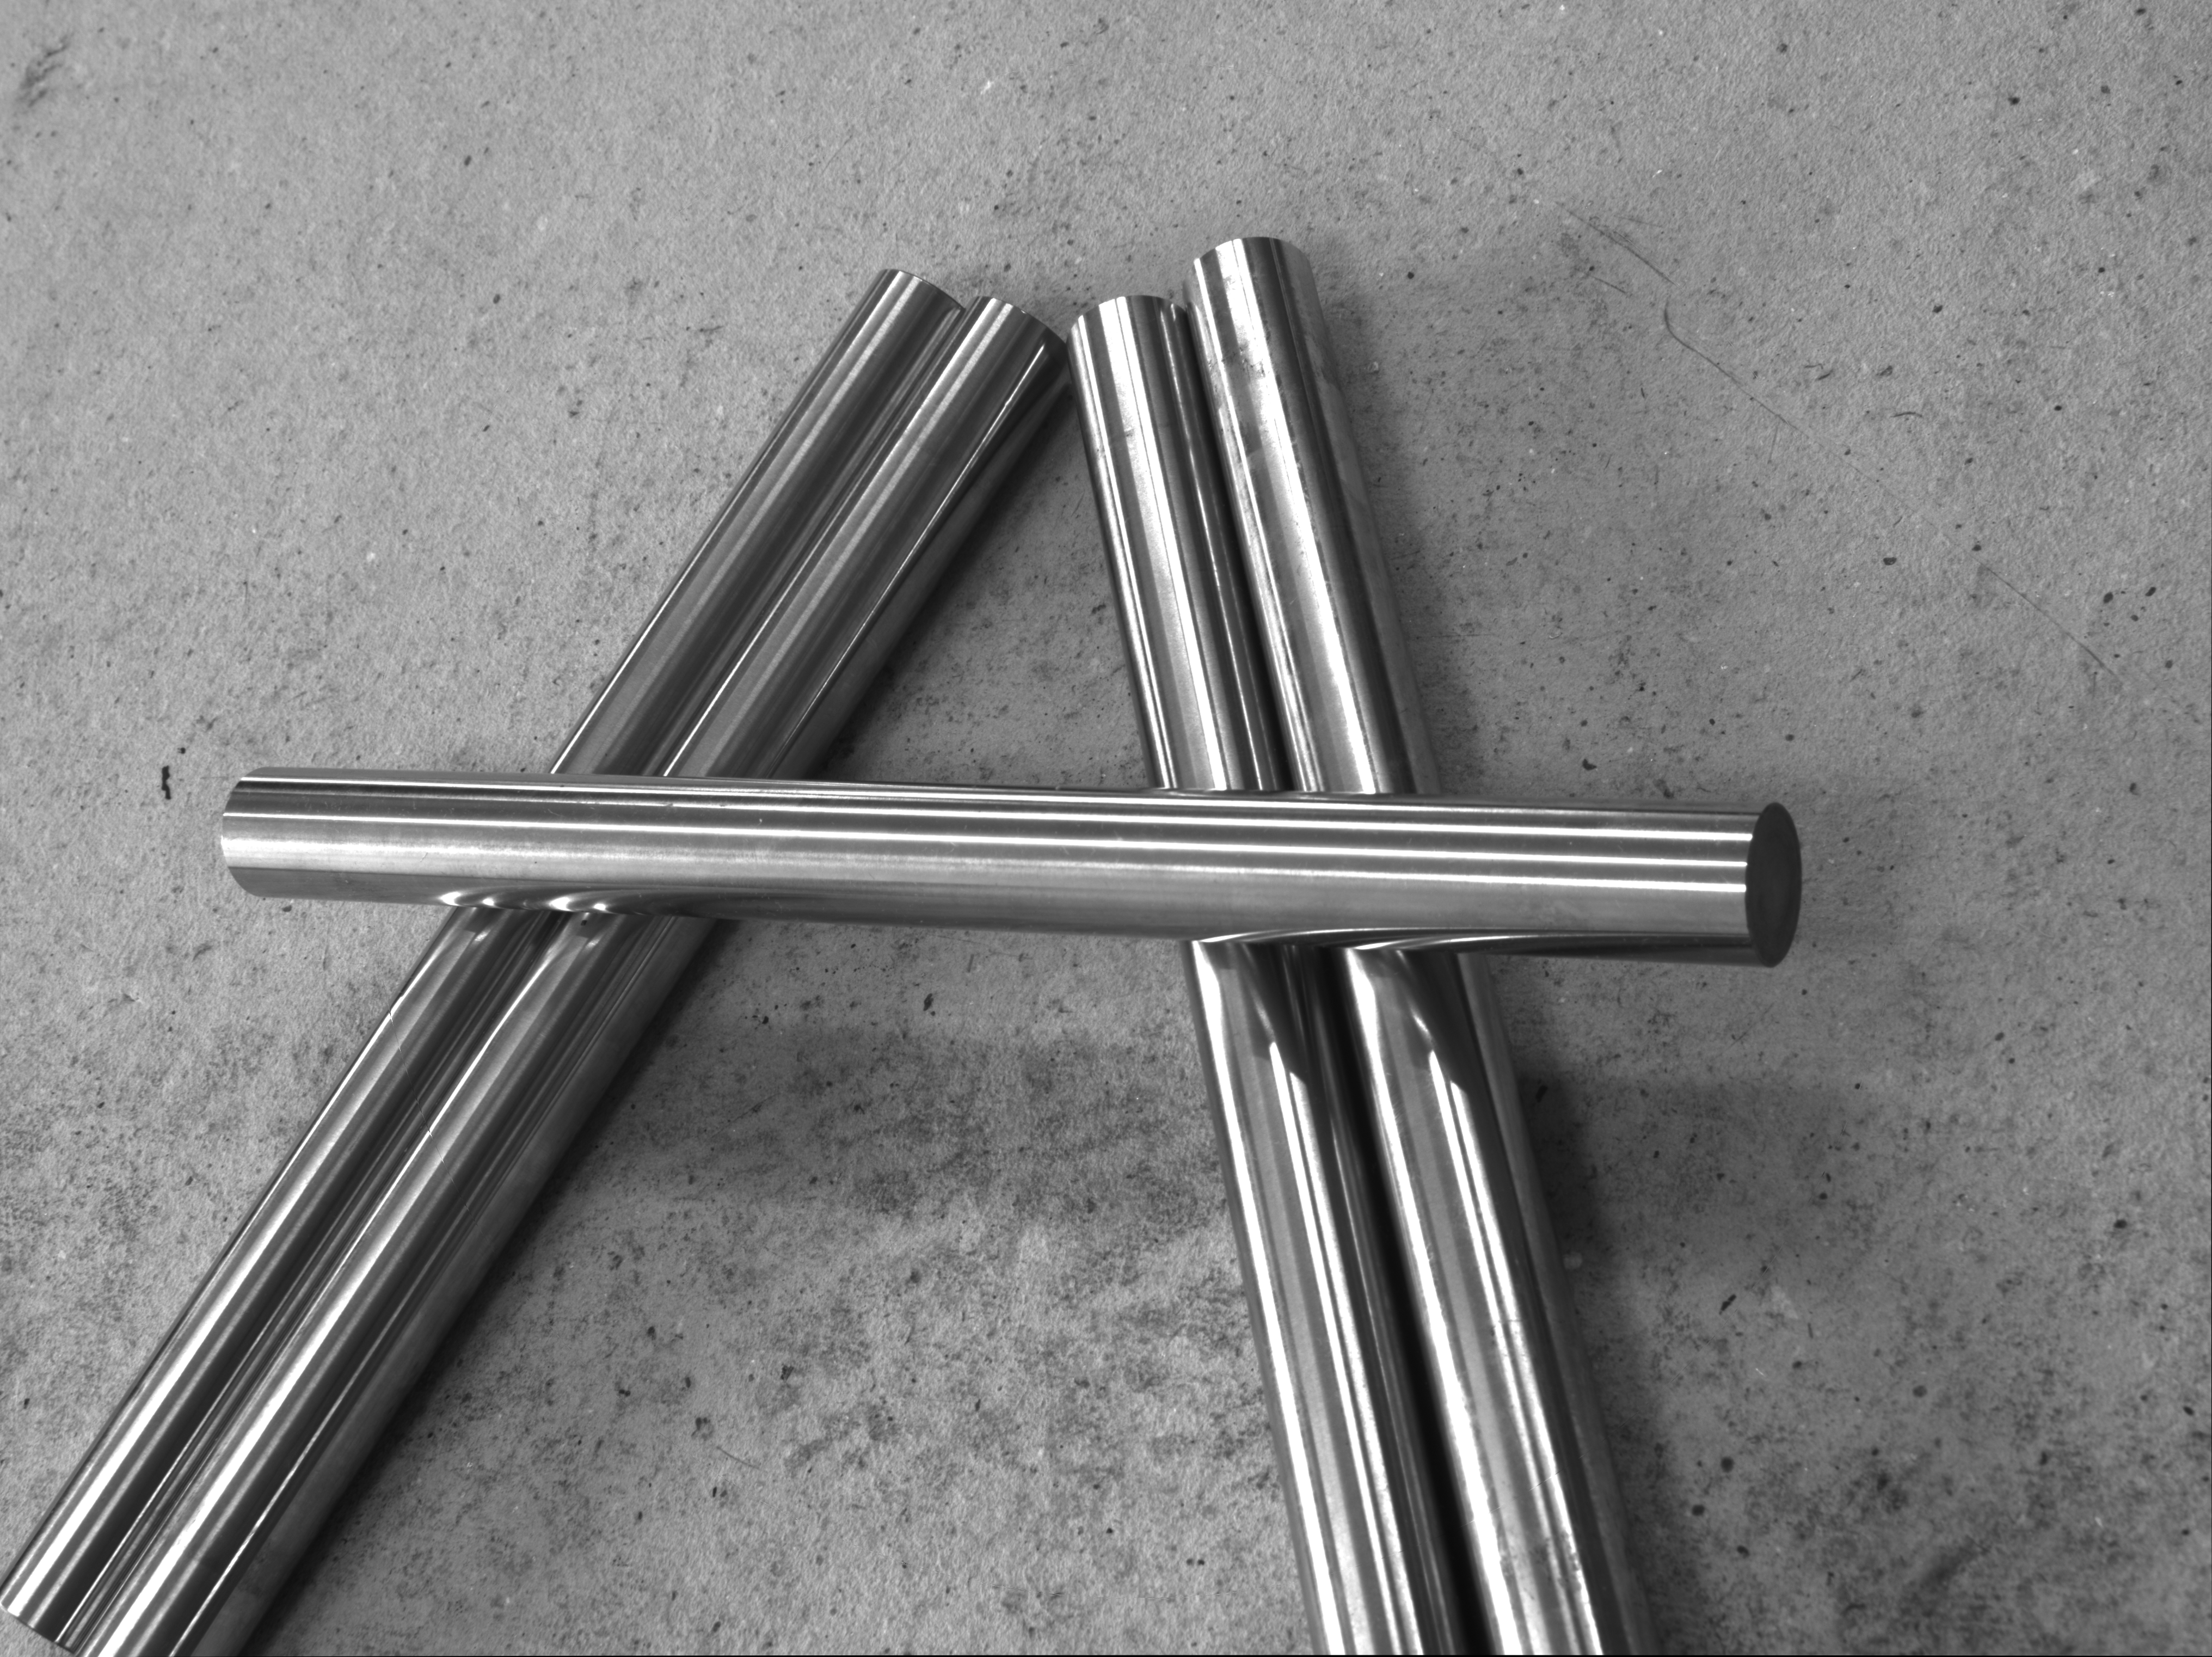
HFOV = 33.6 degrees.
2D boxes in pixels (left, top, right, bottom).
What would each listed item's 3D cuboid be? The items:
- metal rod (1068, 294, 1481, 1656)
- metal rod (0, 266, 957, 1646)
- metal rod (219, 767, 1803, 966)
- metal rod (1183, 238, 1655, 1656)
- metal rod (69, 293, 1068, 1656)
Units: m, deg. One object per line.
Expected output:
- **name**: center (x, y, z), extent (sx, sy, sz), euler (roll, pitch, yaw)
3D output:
- **metal rod**: center (0.027, 0.027, 0.614), extent (0.025, 0.025, 0.300), euler (-22, 53, 16)
- **metal rod**: center (-0.112, 0.020, 0.693), extent (0.025, 0.025, 0.300), euler (22, 73, 36)
- **metal rod**: center (-0.030, 0.004, 0.626), extent (0.299, 0.025, 0.025), euler (2, 62, 29)
- **metal rod**: center (0.049, 0.018, 0.608), extent (0.025, 0.025, 0.300), euler (-22, 53, 16)
- **metal rod**: center (-0.094, 0.028, 0.678), extent (0.025, 0.025, 0.300), euler (22, 73, 36)
